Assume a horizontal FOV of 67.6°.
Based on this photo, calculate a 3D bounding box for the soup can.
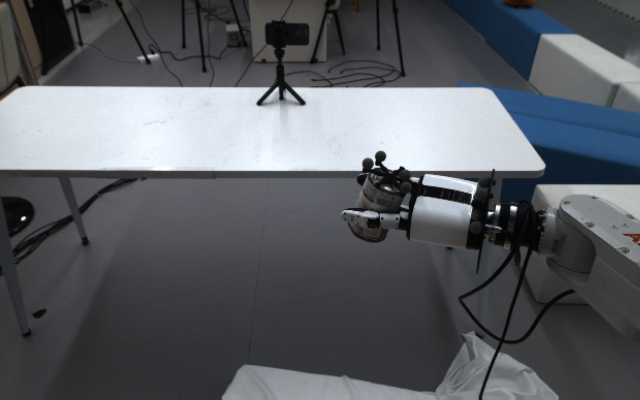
[{"bbox_3d":[0.092,0.008,0.769,0.067,0.101,0.067,13,34,-9],"label":"soup can"}]
